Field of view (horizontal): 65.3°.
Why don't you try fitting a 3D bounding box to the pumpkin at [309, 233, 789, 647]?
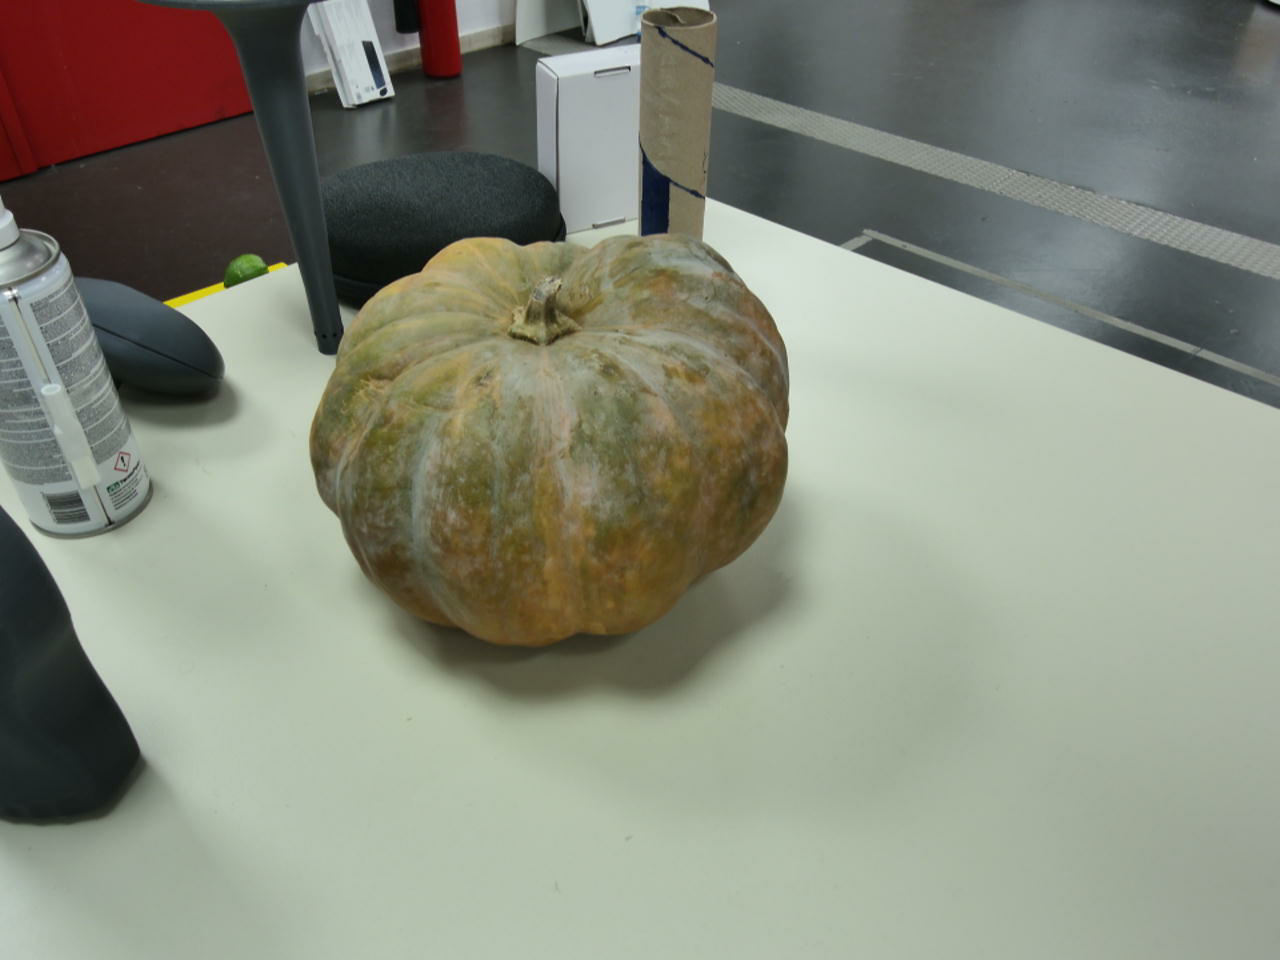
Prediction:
[{"bbox_3d":[-0.045,-0.028,0.520,0.252,0.169,0.251,0,38,0],"label":"pumpkin"}]
